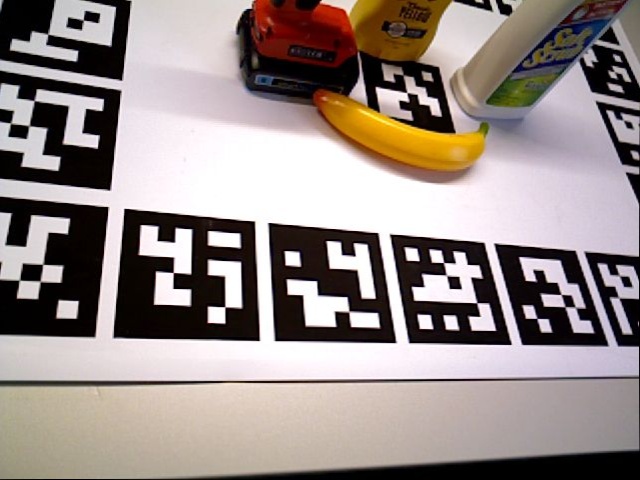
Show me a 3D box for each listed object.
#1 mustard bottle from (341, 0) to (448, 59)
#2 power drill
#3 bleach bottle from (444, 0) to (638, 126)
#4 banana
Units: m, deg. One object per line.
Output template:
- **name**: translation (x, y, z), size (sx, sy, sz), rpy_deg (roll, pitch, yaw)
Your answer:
- **mustard bottle**: translation (0.099, -0.266, 0.523), size (0.095, 0.196, 0.058), rpy_deg (6, 61, -21)
- **power drill**: translation (0.017, -0.229, 0.448), size (0.182, 0.192, 0.057), rpy_deg (3, 56, -24)
- **bleach bottle**: translation (0.232, -0.212, 0.524), size (0.101, 0.256, 0.067), rpy_deg (-3, 66, -24)
- **banana**: translation (0.090, -0.104, 0.527), size (0.195, 0.039, 0.073), rpy_deg (7, 66, -17)
